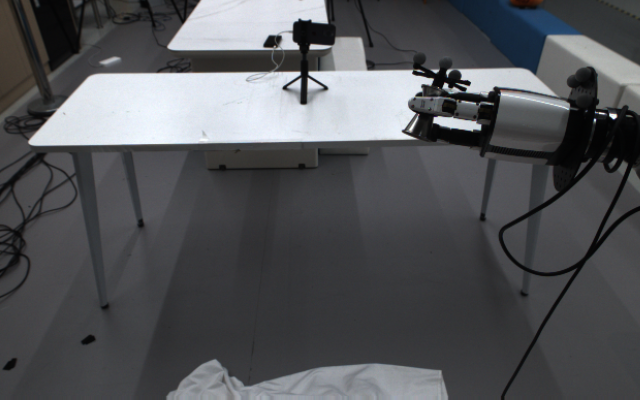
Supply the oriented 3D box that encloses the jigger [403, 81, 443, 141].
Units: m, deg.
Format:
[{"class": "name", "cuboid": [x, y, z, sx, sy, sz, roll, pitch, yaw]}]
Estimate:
[{"class": "jigger", "cuboid": [0.143, -0.120, 0.658, 0.043, 0.071, 0.043, 22, 5, -2]}]
